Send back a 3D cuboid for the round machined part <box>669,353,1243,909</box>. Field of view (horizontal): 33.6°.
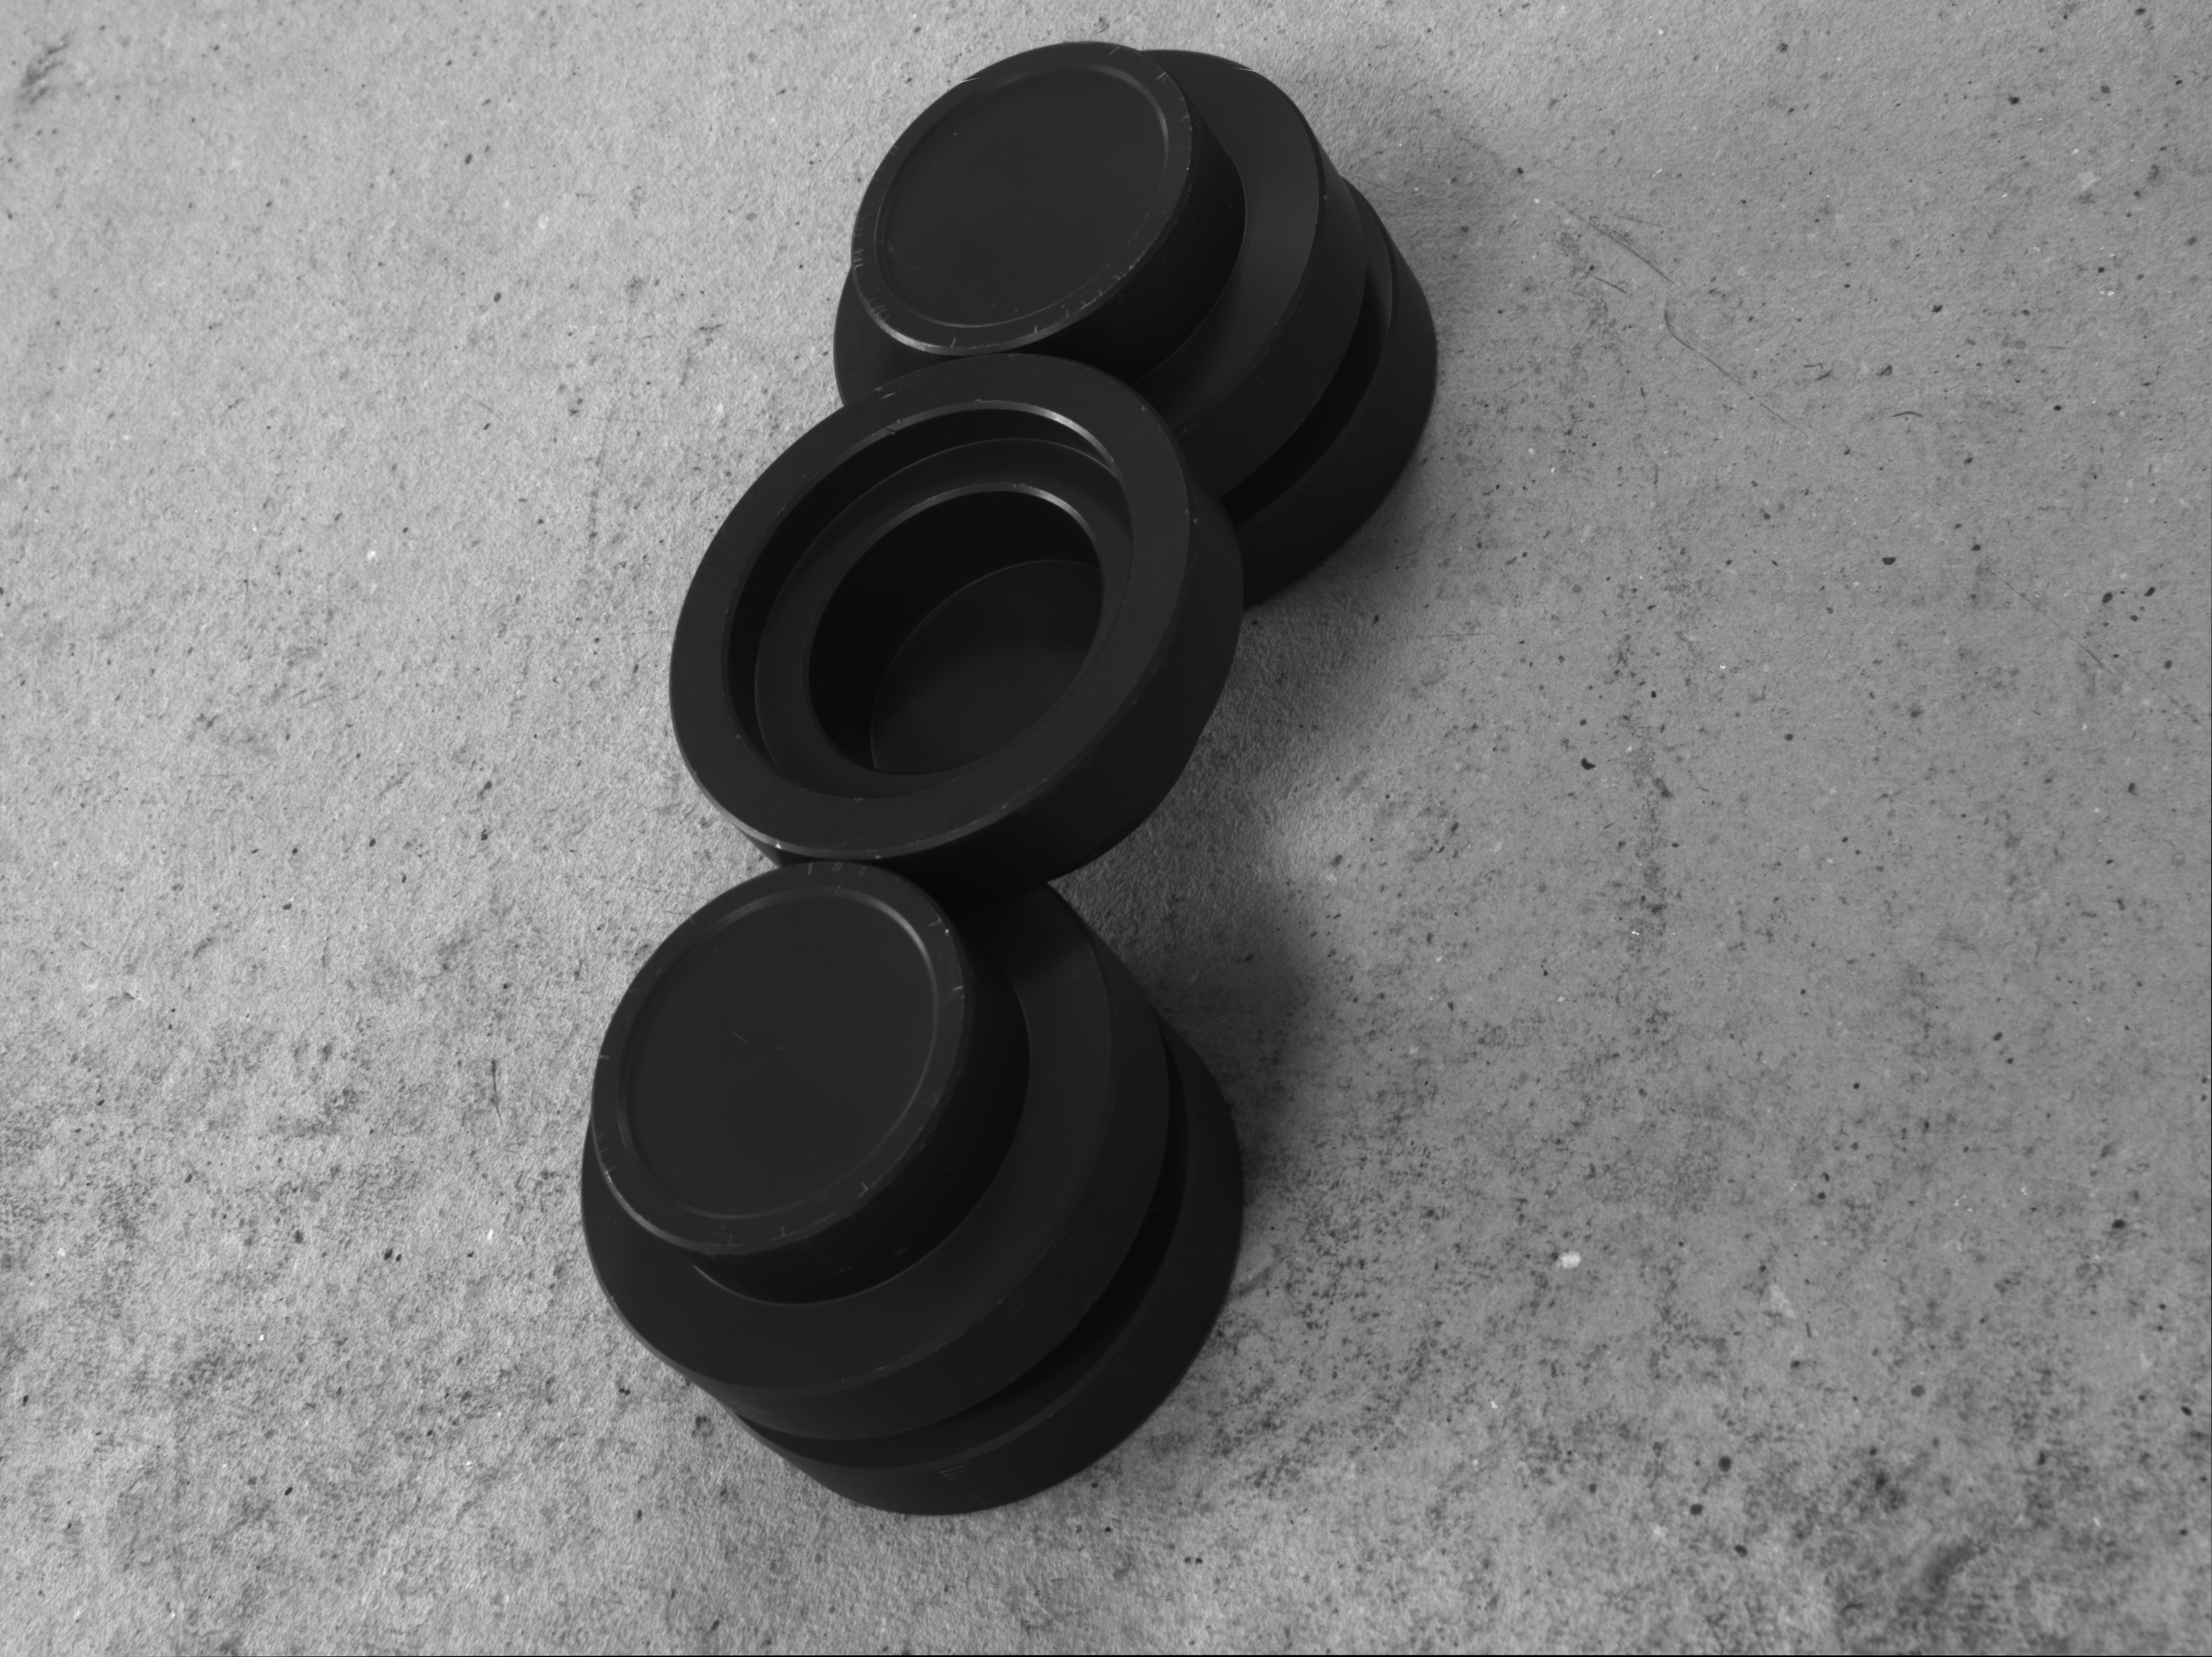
[{"bbox_3d":[-0.021,-0.028,0.622,0.098,0.042,0.098,-13,56,21],"label":"round machined part"}]

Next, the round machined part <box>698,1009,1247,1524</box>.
[{"bbox_3d":[-0.029,0.062,0.613,0.098,0.042,0.098,-14,54,21],"label":"round machined part"}]

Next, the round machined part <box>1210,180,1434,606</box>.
[{"bbox_3d":[0.008,-0.089,0.684,0.098,0.042,0.098,-15,55,22],"label":"round machined part"}]

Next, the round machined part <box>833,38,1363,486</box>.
[{"bbox_3d":[-0.007,-0.102,0.658,0.098,0.042,0.098,-14,56,22],"label":"round machined part"}]

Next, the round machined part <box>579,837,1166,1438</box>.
[{"bbox_3d":[-0.043,0.044,0.587,0.098,0.042,0.098,-14,56,22],"label":"round machined part"}]
